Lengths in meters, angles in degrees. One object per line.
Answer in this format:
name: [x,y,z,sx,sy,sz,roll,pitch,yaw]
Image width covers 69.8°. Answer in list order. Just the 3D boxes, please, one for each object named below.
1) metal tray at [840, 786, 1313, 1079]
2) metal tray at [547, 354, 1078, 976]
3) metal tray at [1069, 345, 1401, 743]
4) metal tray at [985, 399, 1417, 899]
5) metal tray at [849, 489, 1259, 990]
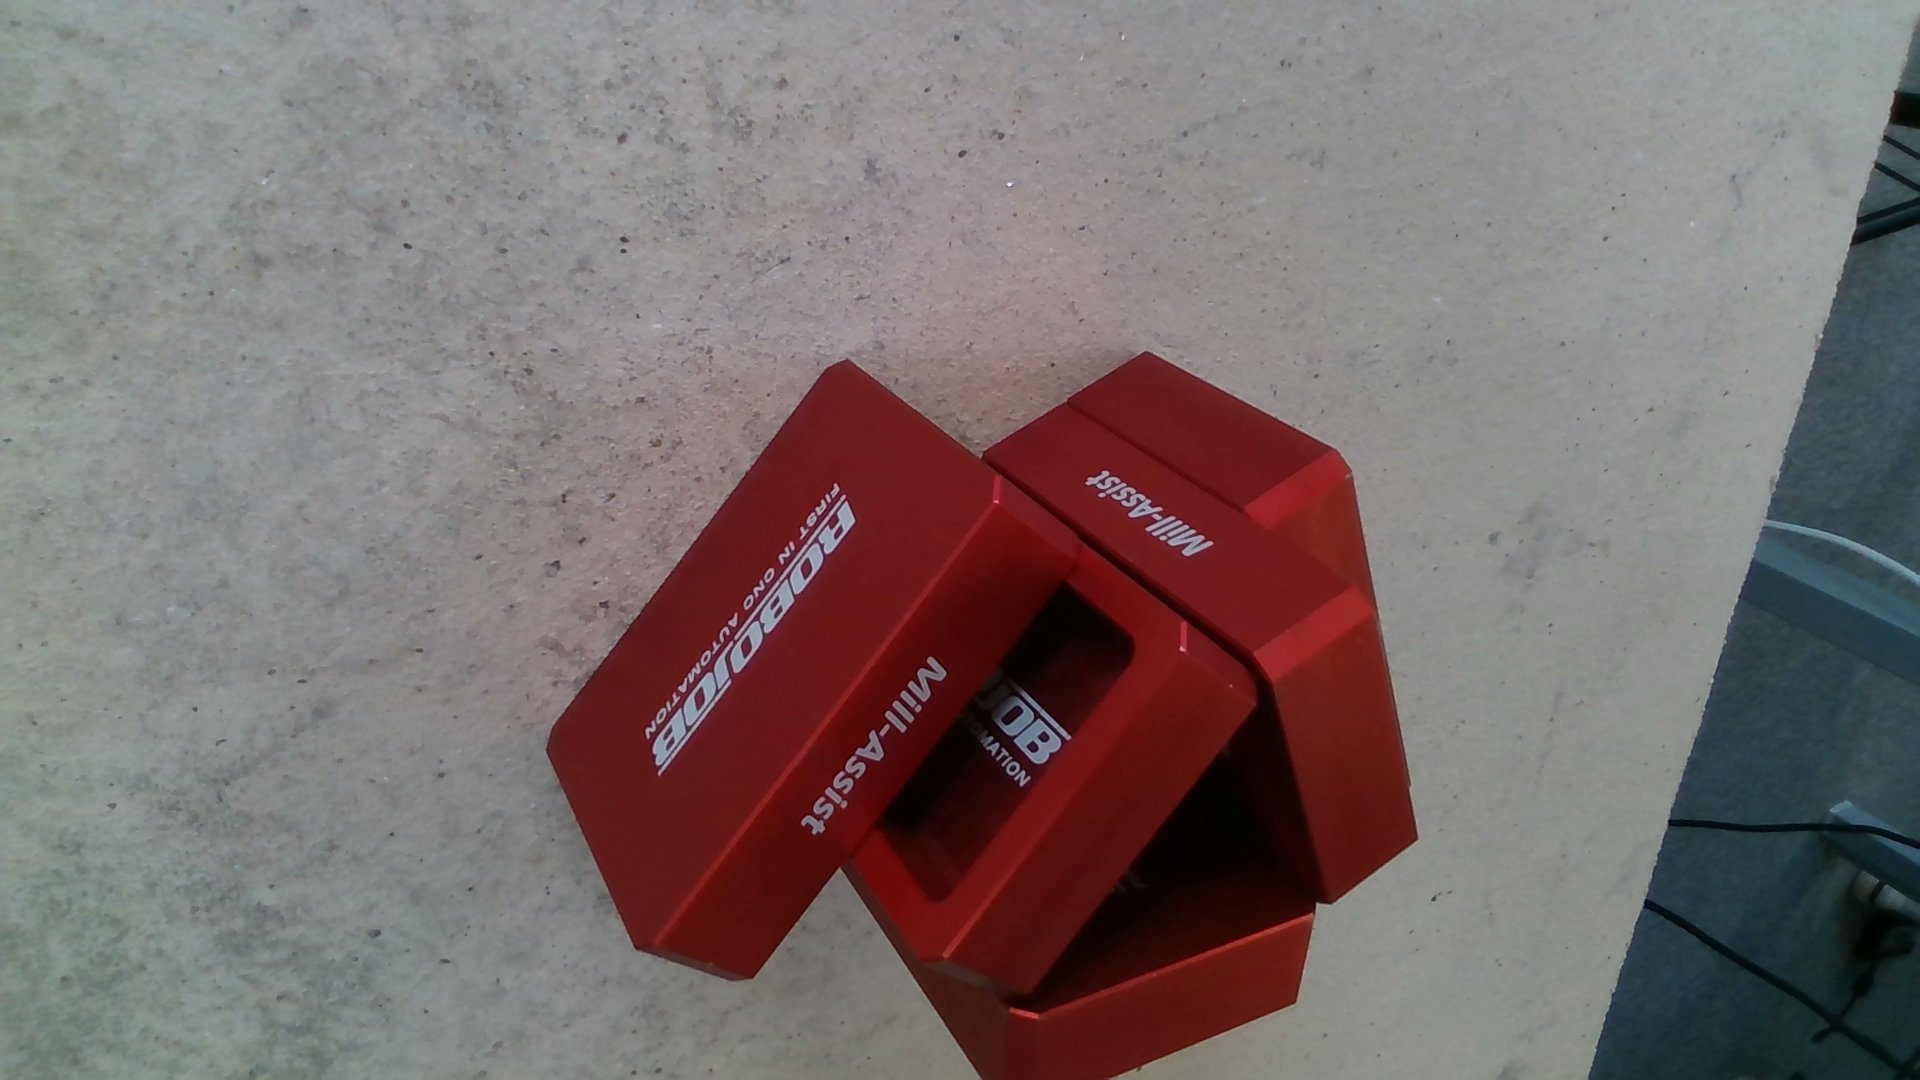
metal tray: [0.020,0.084,0.380,0.090,0.130,0.030,-10,119,-27]
metal tray: [-0.041,0.026,0.336,0.030,0.090,0.130,35,94,-39]
metal tray: [0.082,0.016,0.406,0.030,0.090,0.130,-32,128,-14]
metal tray: [0.061,0.025,0.373,0.030,0.130,0.090,-32,127,-13]
metal tray: [0.000,0.033,0.339,0.030,0.130,0.090,35,94,-40]
